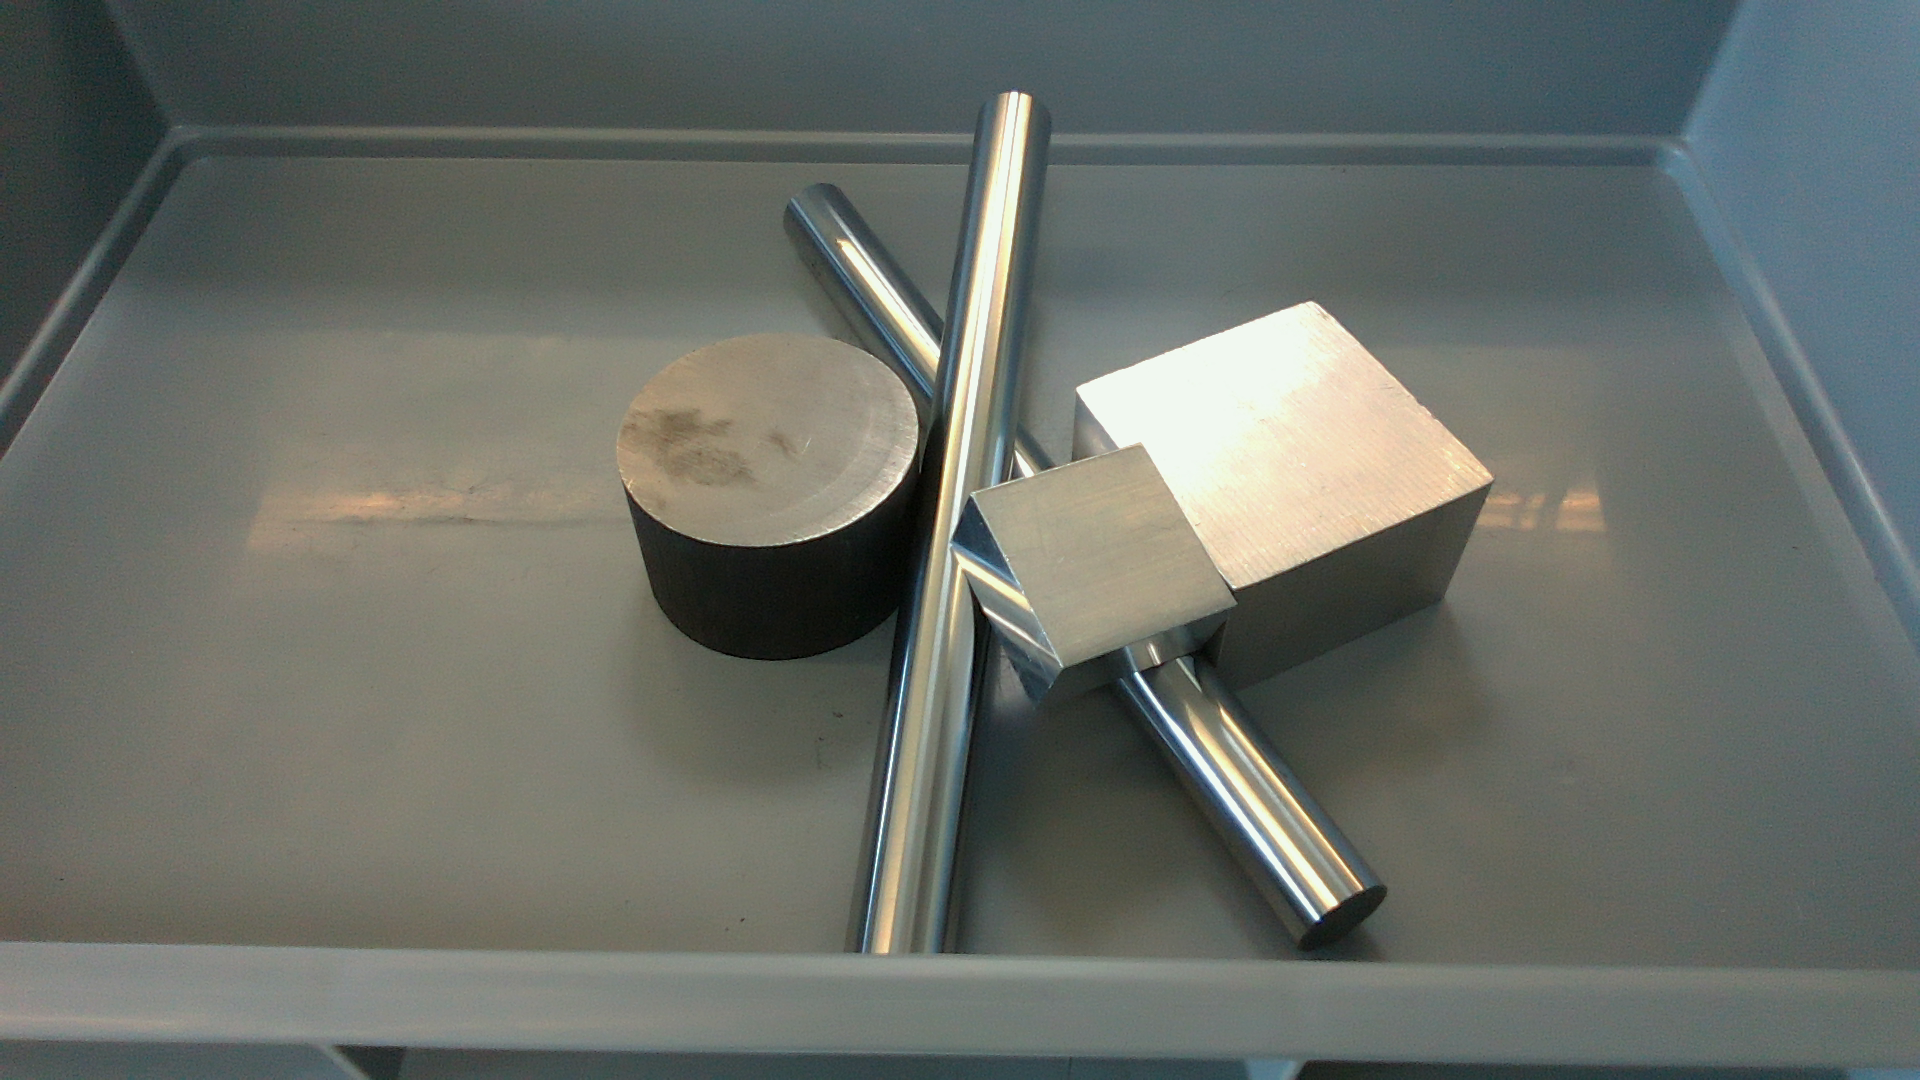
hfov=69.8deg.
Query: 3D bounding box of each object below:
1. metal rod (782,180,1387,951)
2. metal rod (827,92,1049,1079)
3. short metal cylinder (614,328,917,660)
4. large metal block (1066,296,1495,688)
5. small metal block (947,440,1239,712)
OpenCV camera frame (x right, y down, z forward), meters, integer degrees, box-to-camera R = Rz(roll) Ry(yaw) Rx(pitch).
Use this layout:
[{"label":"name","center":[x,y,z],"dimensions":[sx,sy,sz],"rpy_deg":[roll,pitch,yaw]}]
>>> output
[{"label":"metal rod","center":[0.018,-0.015,0.402],"dimensions":[0.025,0.025,0.299],"rpy_deg":[-22,54,-17]},{"label":"metal rod","center":[0.000,-0.012,0.374],"dimensions":[0.025,0.025,0.300],"rpy_deg":[5,58,4]},{"label":"short metal cylinder","center":[-0.052,-0.014,0.385],"dimensions":[0.080,0.050,0.080],"rpy_deg":[0,50,0]},{"label":"large metal block","center":[0.084,-0.014,0.385],"dimensions":[0.080,0.050,0.080],"rpy_deg":[-21,53,-17]},{"label":"small metal block","center":[0.032,0.008,0.342],"dimensions":[0.050,0.025,0.050],"rpy_deg":[-17,66,-24]}]
